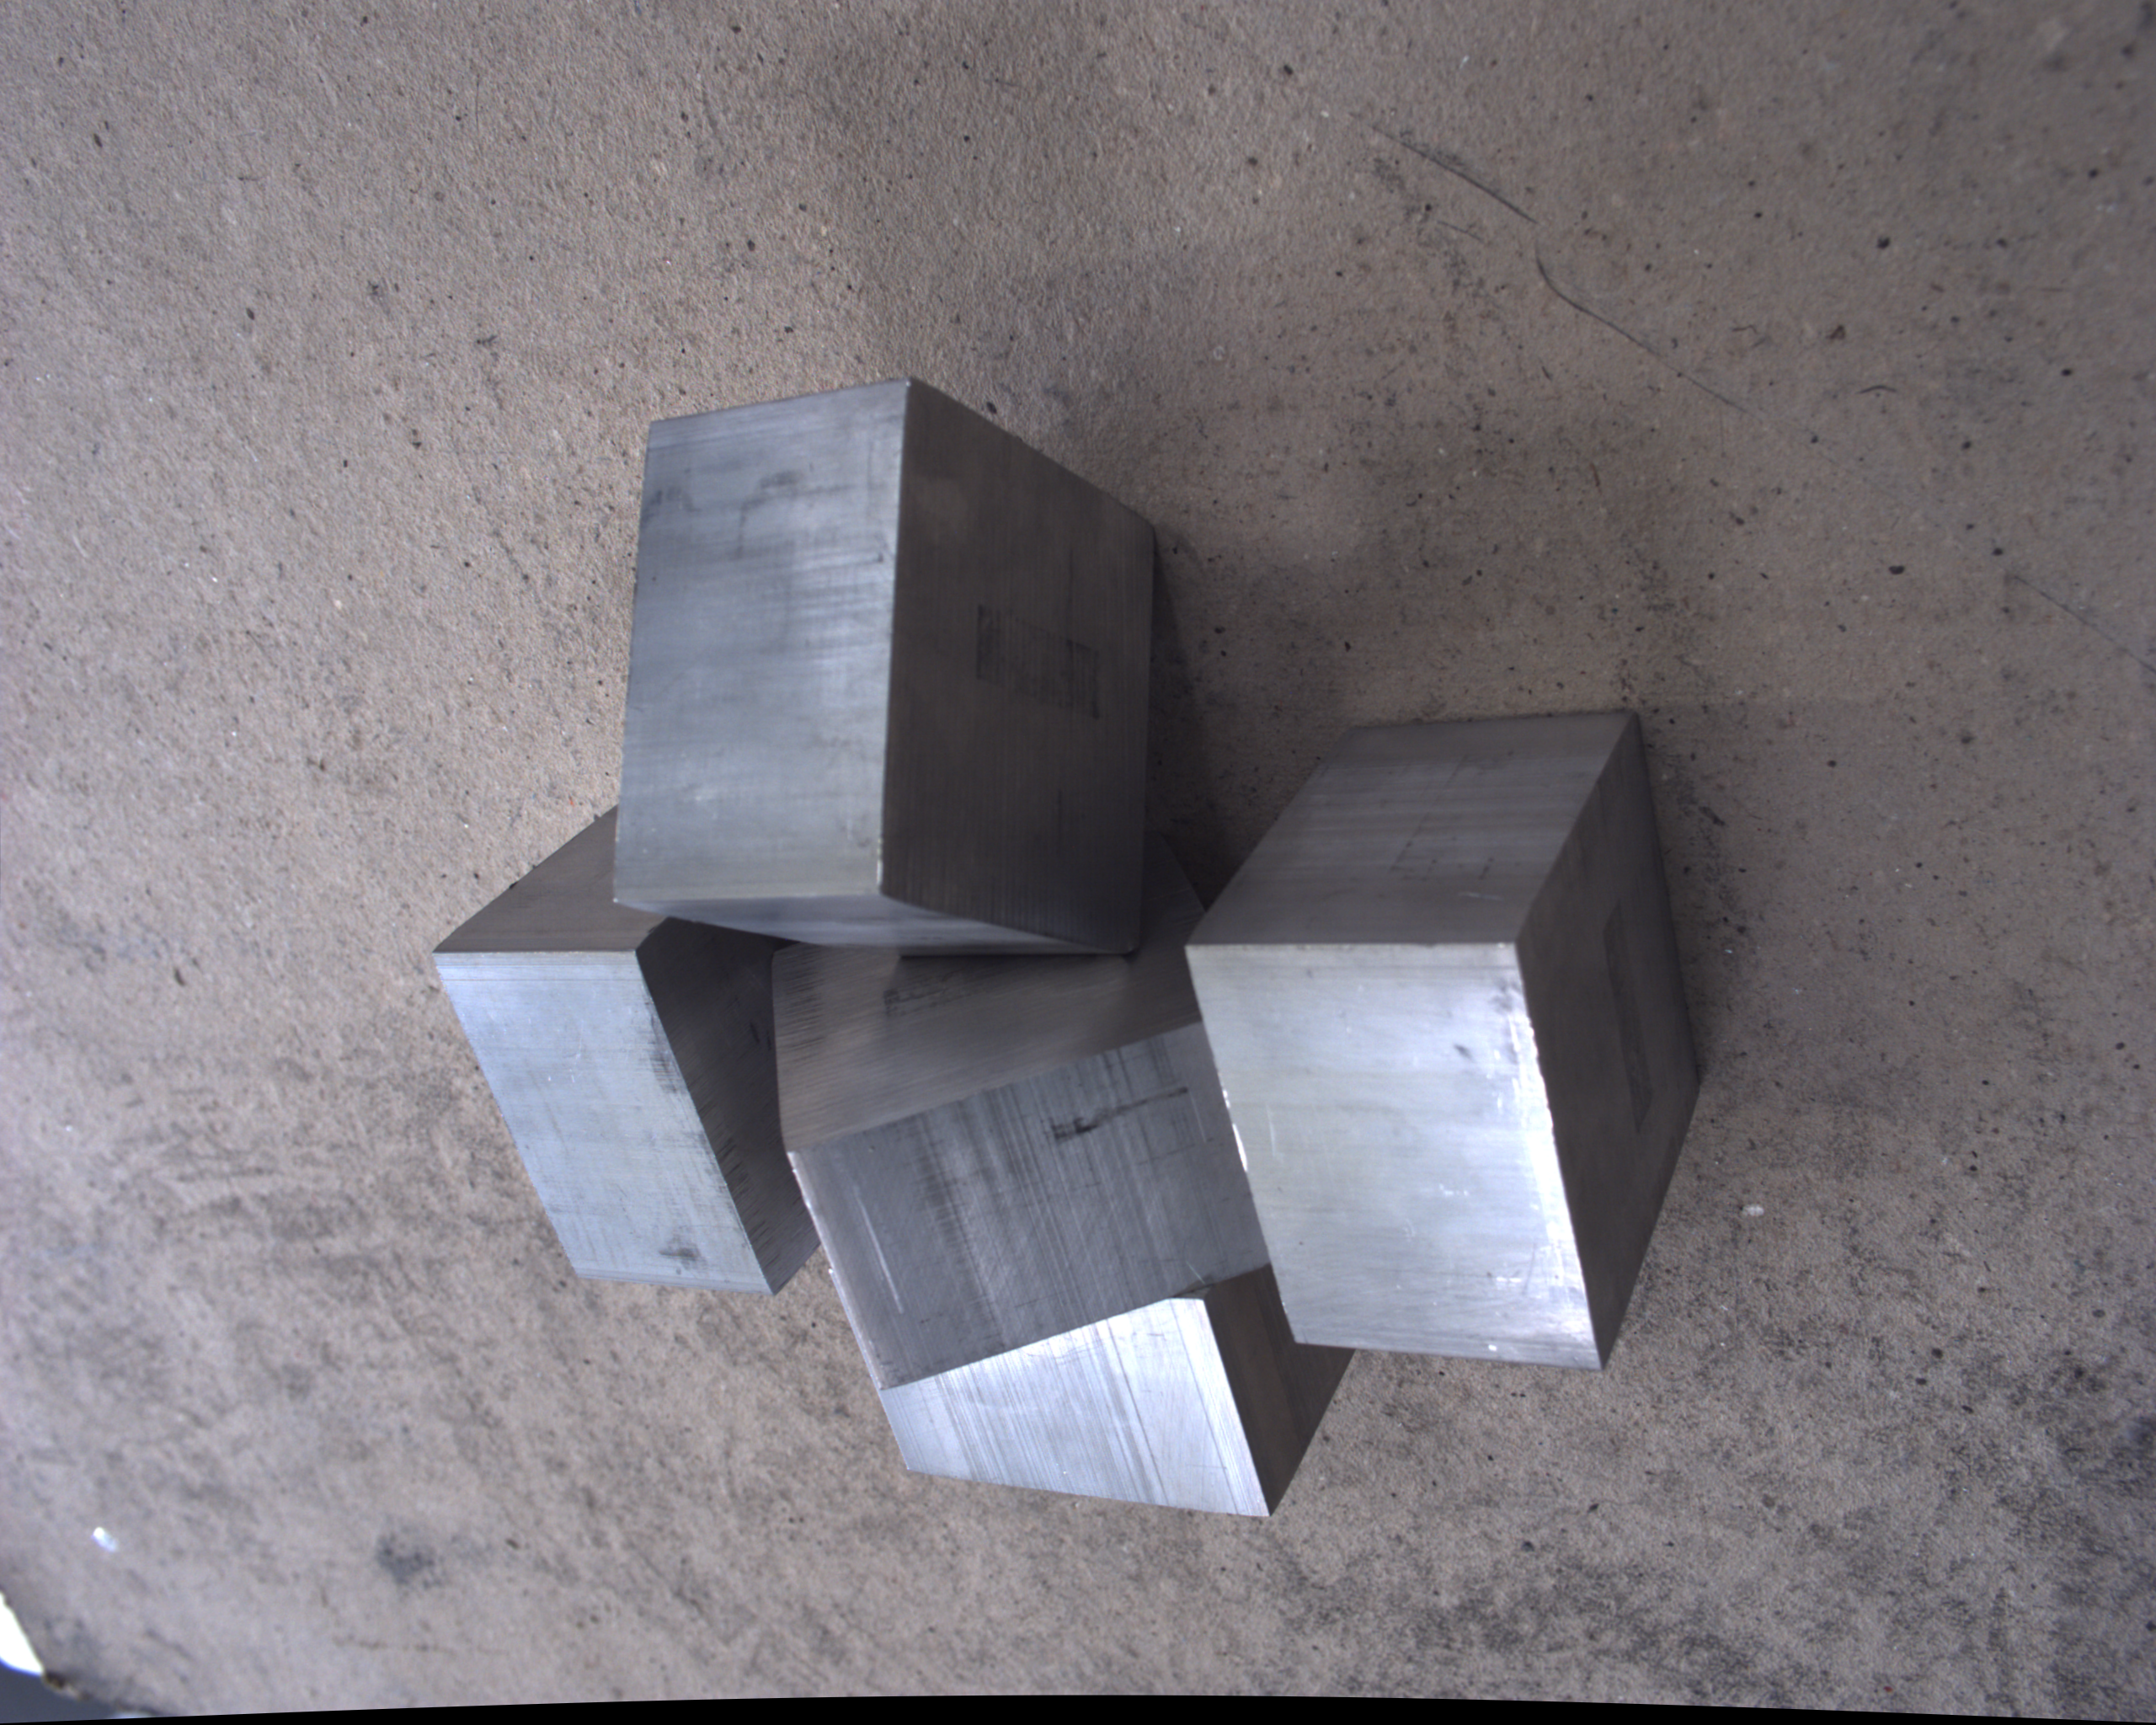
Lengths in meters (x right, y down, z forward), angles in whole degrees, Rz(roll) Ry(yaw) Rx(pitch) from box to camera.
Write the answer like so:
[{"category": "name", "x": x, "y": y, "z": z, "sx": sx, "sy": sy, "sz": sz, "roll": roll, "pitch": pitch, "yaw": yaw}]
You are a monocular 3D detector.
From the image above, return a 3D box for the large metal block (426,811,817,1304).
[{"category": "large metal block", "x": -0.075, "y": 0.032, "z": 0.432, "sx": 0.050, "sy": 0.080, "sz": 0.080, "roll": -2, "pitch": 117, "yaw": 29}]

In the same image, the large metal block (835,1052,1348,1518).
[{"category": "large metal block", "x": 0.011, "y": 0.079, "z": 0.417, "sx": 0.080, "sy": 0.080, "sz": 0.050, "roll": -2, "pitch": 117, "yaw": 29}]

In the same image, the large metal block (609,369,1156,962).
[{"category": "large metal block", "x": -0.029, "y": -0.028, "z": 0.352, "sx": 0.050, "sy": 0.080, "sz": 0.080, "roll": -3, "pitch": 80, "yaw": 29}]

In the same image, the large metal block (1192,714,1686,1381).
[{"category": "large metal block", "x": 0.066, "y": 0.029, "z": 0.356, "sx": 0.050, "sy": 0.080, "sz": 0.080, "roll": -2, "pitch": 116, "yaw": 28}]

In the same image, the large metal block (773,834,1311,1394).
[{"category": "large metal block", "x": -0.009, "y": 0.043, "z": 0.385, "sx": 0.080, "sy": 0.080, "sz": 0.050, "roll": -17, "pitch": 113, "yaw": -3}]
